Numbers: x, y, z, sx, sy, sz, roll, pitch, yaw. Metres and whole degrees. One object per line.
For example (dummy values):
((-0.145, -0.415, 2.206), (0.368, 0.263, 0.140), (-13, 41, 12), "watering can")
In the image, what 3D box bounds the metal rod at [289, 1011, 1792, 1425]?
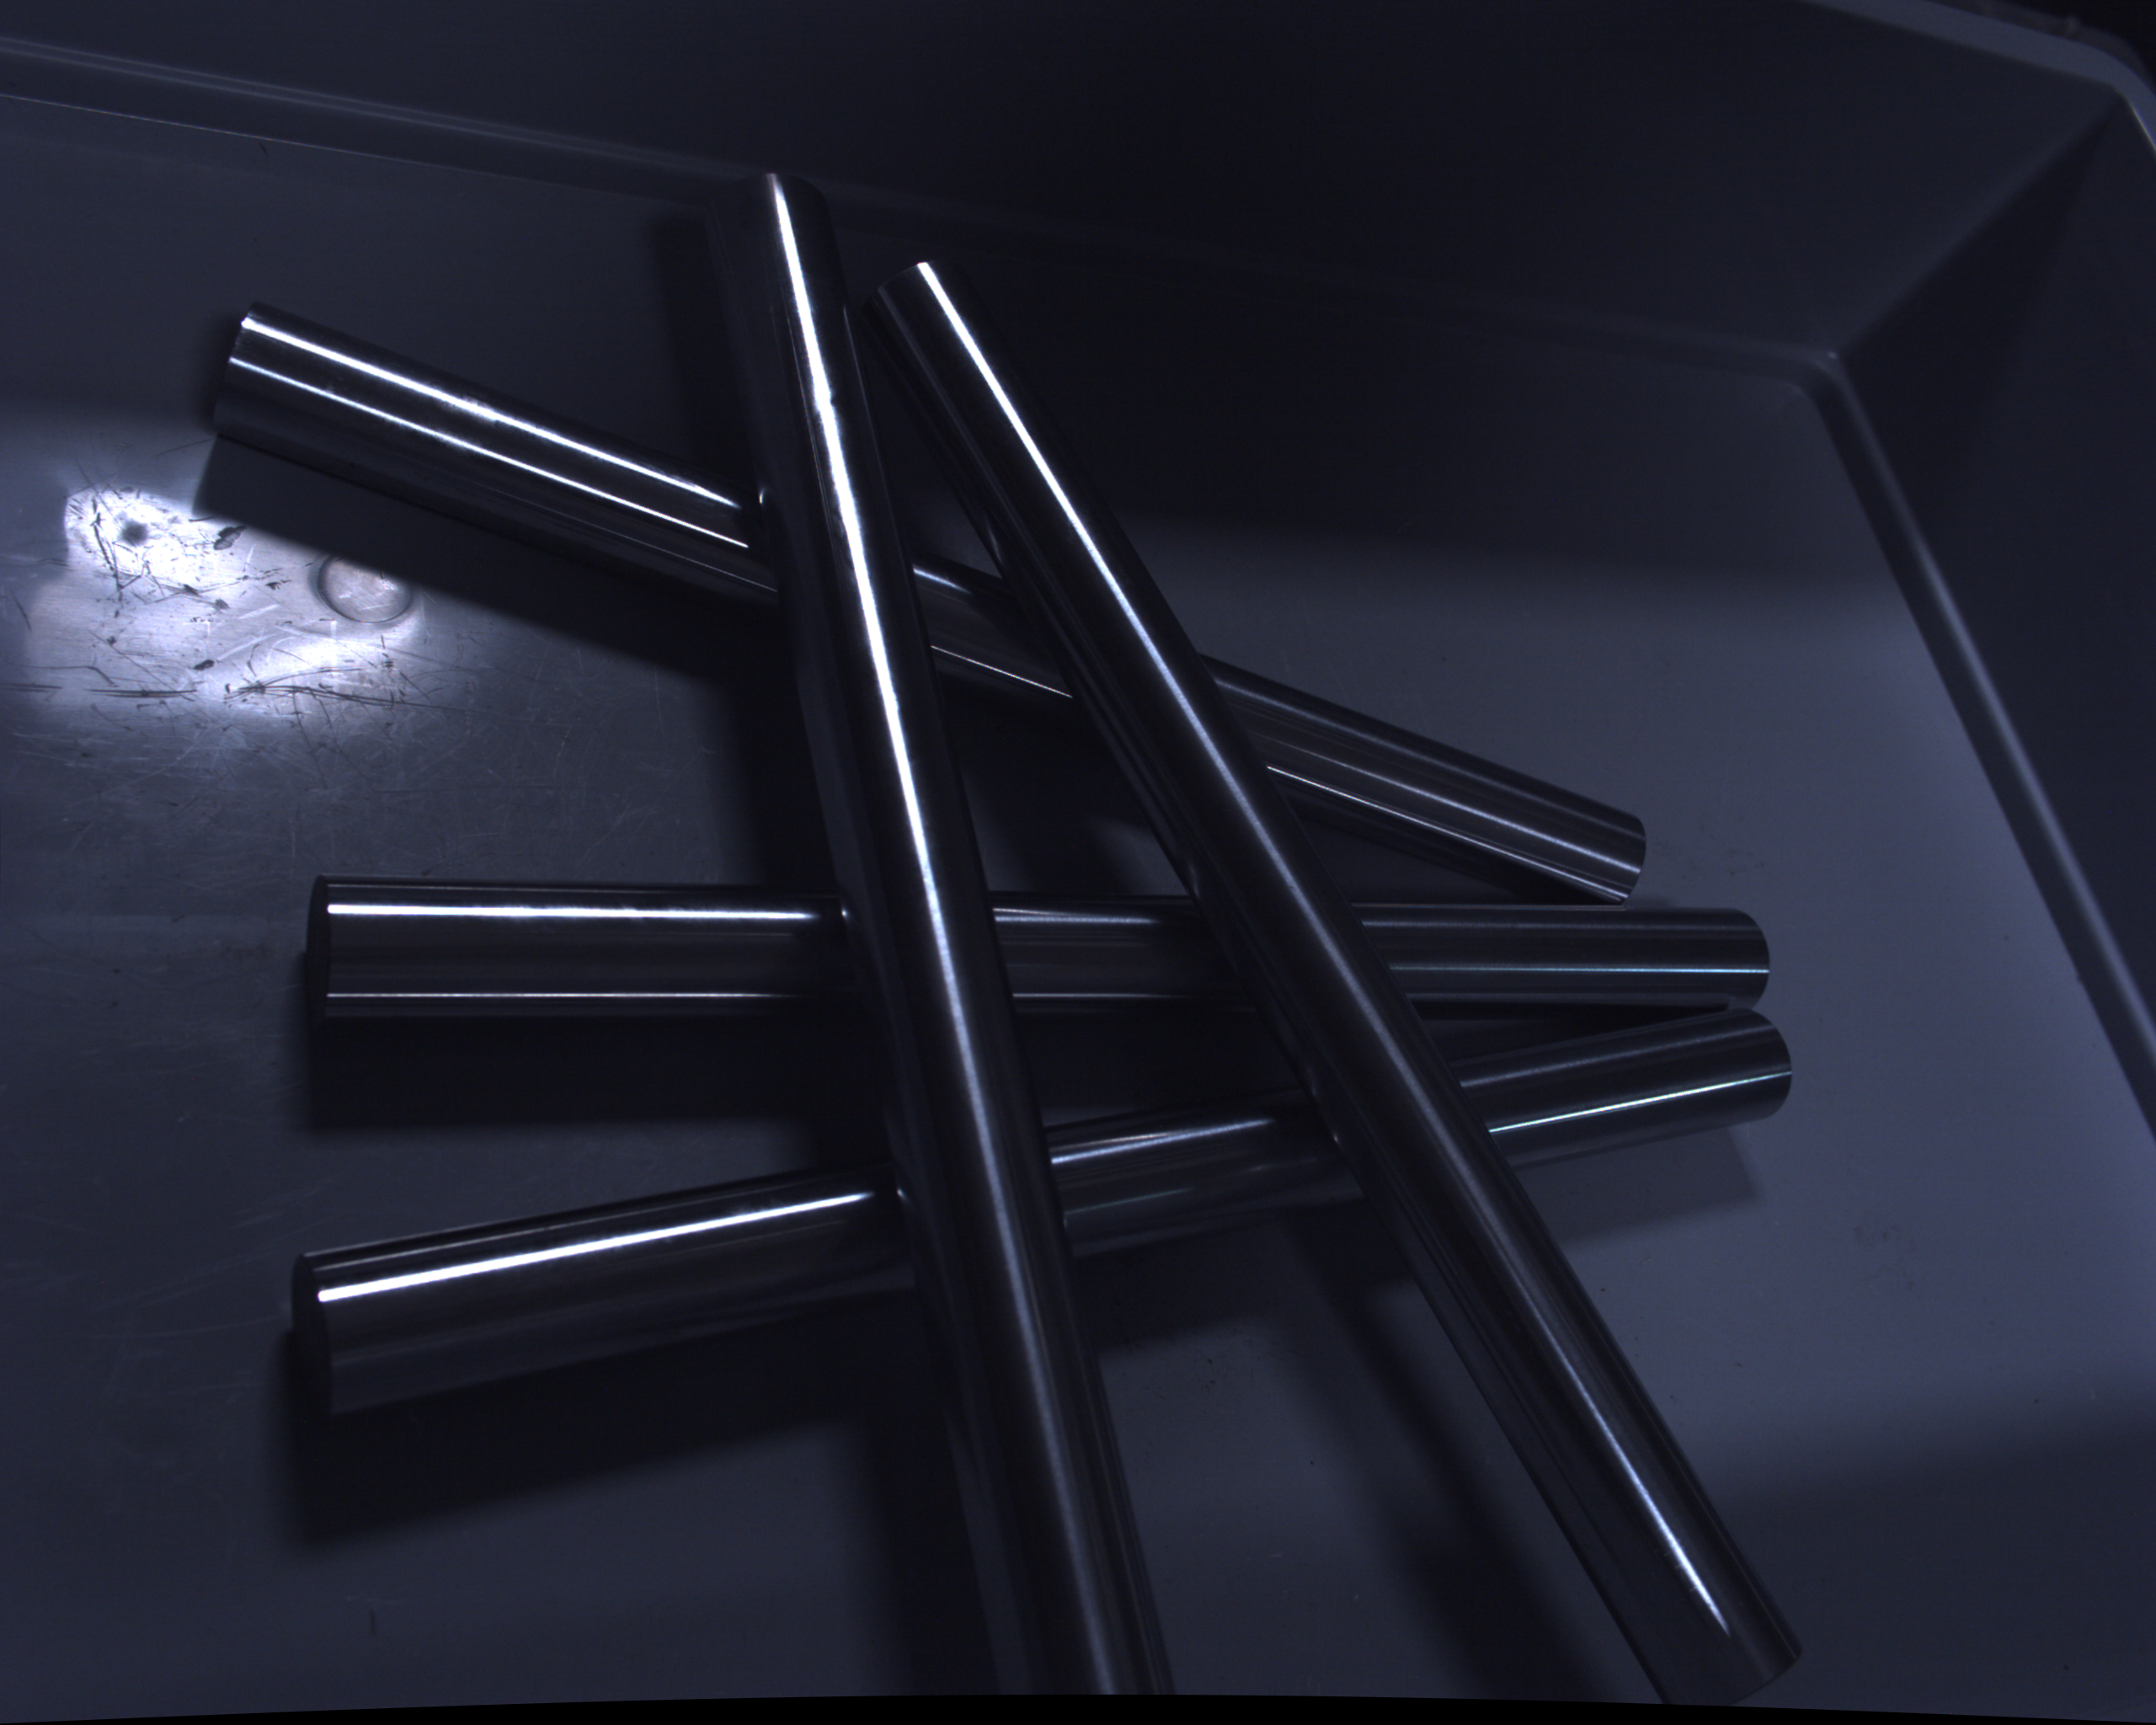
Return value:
((0.017, 0.057, 0.380), (0.303, 0.025, 0.025), (-5, 65, -31), "metal rod")

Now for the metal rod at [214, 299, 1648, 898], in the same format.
((-0.016, -0.045, 0.423), (0.302, 0.025, 0.025), (18, 55, -18), "metal rod")

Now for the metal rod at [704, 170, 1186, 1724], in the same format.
((-0.028, 0.002, 0.355), (0.025, 0.025, 0.299), (0, 62, -29), "metal rod")

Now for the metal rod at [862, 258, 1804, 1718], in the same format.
((0.038, 0.011, 0.387), (0.025, 0.025, 0.299), (-19, 72, -36), "metal rod")

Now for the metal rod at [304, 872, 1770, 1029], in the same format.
((0.013, 0.018, 0.401), (0.303, 0.025, 0.025), (2, 61, -28), "metal rod")
